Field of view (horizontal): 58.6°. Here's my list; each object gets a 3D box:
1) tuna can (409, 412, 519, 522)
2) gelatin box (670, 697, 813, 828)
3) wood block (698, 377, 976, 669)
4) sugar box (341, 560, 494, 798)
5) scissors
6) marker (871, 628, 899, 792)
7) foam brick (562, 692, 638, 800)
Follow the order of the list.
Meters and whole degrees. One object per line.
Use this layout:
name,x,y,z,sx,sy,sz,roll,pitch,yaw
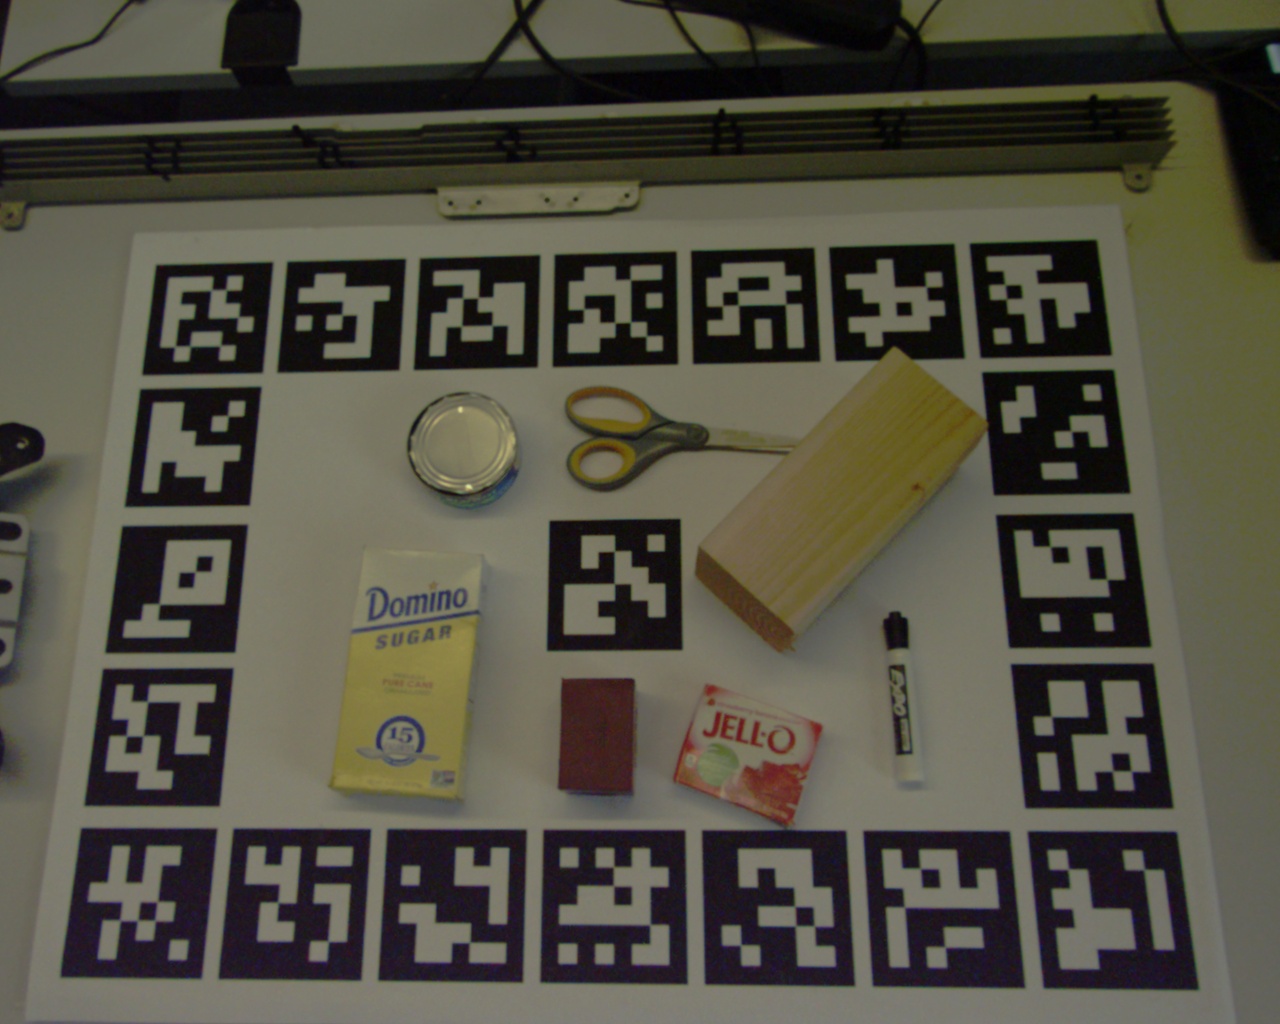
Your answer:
tuna can,-0.142,-0.035,0.925,0.086,0.033,0.086,-1,75,3
gelatin box,0.076,0.187,0.854,0.090,0.030,0.073,18,77,9
wood block,0.147,0.011,0.870,0.090,0.090,0.206,43,81,13
sugar box,-0.169,0.128,0.880,0.093,0.045,0.176,4,75,4
scissors,0.032,-0.041,0.927,0.203,0.016,0.088,7,75,8
marker,0.185,0.149,0.861,0.020,0.019,0.121,1,77,3
foam brick,-0.028,0.175,0.849,0.053,0.051,0.078,1,76,4
